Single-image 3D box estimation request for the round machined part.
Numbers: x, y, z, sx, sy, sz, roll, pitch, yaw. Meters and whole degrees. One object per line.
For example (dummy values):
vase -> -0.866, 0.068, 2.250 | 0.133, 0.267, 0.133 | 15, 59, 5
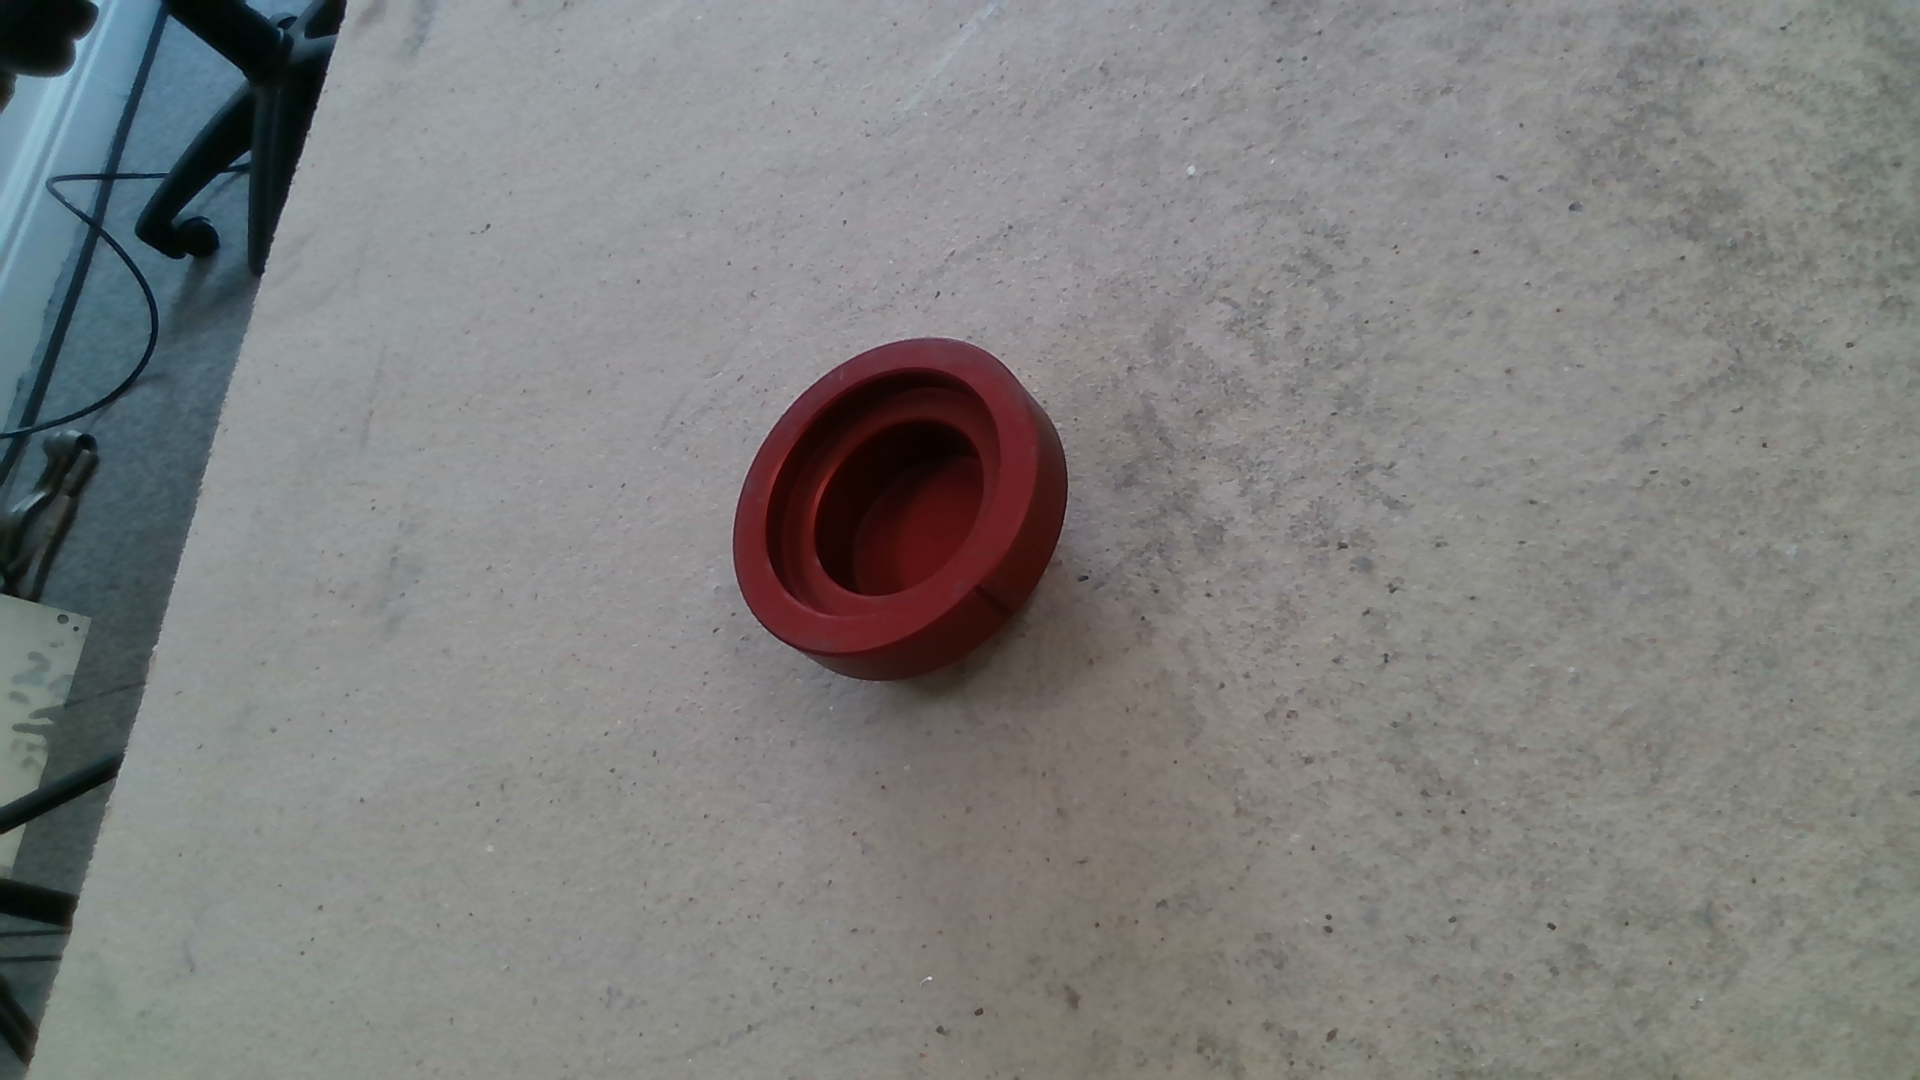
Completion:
round machined part -> -0.013, -0.005, 0.393 | 0.098, 0.042, 0.098 | -14, 59, 25
